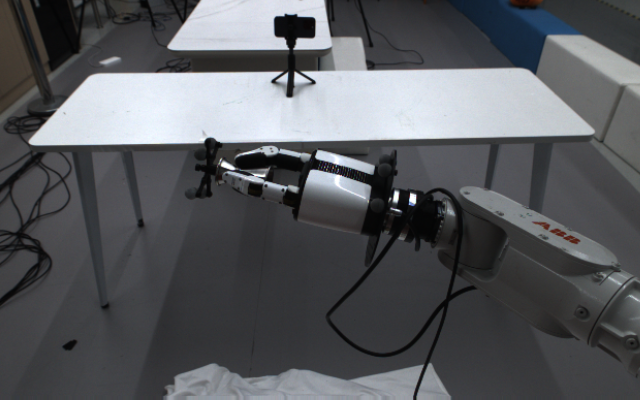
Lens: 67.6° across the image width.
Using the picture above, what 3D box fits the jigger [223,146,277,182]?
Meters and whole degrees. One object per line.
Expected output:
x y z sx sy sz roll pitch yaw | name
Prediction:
-0.094 -0.034 0.646 0.071 0.043 0.043 11 35 5 | jigger
